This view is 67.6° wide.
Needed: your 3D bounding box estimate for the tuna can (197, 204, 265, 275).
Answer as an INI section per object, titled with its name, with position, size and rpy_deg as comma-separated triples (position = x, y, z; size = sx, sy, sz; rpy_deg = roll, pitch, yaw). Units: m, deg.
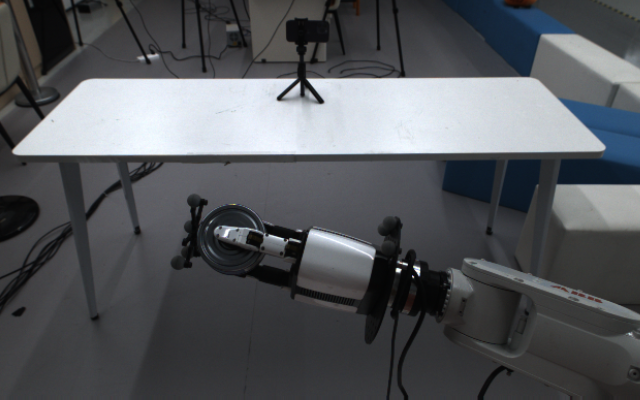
[tuna can]
position = -0.105, 0.048, 0.600
size = 0.085, 0.034, 0.085
rpy_deg = 1, 73, -5
